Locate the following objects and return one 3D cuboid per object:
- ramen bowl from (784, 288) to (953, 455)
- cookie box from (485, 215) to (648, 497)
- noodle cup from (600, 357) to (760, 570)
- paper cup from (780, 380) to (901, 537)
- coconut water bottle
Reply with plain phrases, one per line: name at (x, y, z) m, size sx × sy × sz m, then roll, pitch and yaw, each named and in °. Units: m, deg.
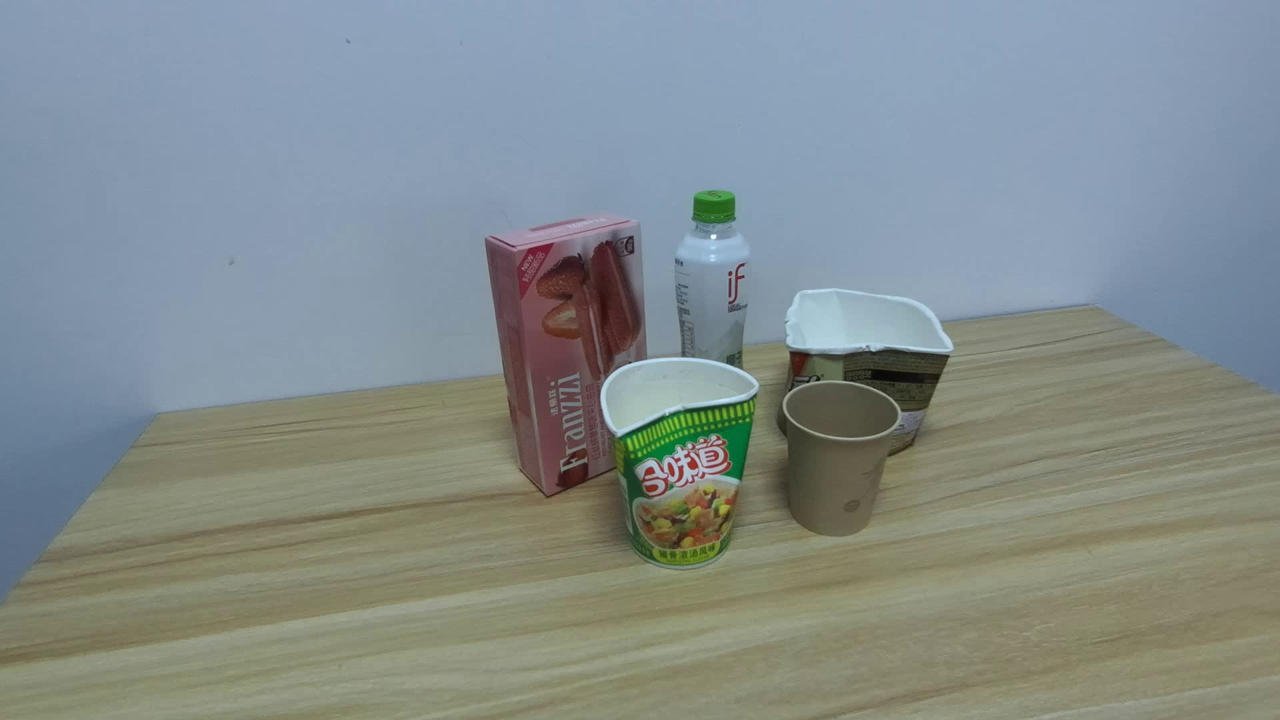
ramen bowl at (0.168, 0.004, 0.570) m, size 0.113 × 0.098 × 0.133 m, roll -4°, pitch 28°, yaw 1°
cookie box at (-0.046, -0.004, 0.510) m, size 0.096 × 0.185 × 0.048 m, roll -19°, pitch 29°, yaw -30°
noodle cup at (0.026, 0.065, 0.447) m, size 0.094 × 0.109 × 0.087 m, roll -3°, pitch 27°, yaw -1°
paper cup at (0.128, 0.067, 0.466) m, size 0.075 × 0.082 × 0.075 m, roll -2°, pitch 26°, yaw 1°
coconut water bottle at (0.057, -0.034, 0.552) m, size 0.063 × 0.189 × 0.063 m, roll -1°, pitch 24°, yaw 1°
